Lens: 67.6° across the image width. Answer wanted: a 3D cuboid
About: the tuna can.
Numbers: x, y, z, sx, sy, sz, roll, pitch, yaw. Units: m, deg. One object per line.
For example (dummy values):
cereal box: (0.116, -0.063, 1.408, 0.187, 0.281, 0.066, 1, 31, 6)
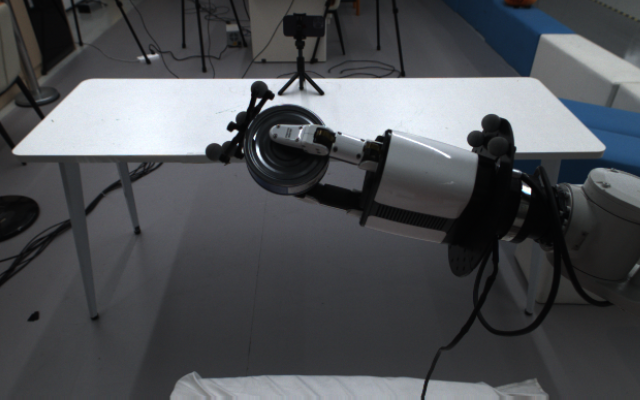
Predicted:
tuna can: (-0.029, -0.051, 0.479, 0.085, 0.034, 0.085, 1, 76, -6)
